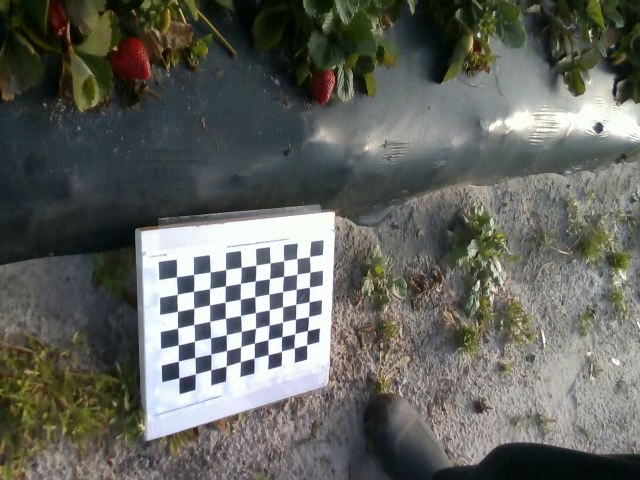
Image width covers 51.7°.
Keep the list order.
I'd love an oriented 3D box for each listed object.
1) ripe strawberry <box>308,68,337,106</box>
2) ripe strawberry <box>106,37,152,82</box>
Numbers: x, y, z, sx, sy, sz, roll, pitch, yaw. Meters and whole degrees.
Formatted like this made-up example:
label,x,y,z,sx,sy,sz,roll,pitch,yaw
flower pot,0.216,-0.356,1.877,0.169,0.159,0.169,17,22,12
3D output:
label,x,y,z,sx,sy,sz,roll,pitch,yaw
ripe strawberry,0.003,-0.134,0.569,0.029,0.036,0.021,-5,5,-32
ripe strawberry,-0.133,-0.124,0.458,0.032,0.030,0.025,-47,14,-21
